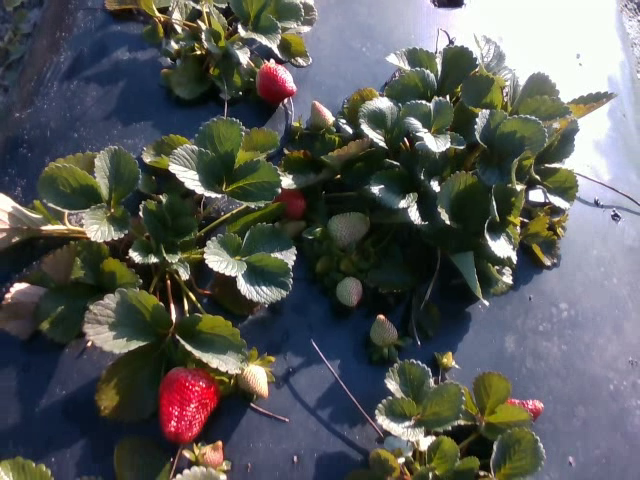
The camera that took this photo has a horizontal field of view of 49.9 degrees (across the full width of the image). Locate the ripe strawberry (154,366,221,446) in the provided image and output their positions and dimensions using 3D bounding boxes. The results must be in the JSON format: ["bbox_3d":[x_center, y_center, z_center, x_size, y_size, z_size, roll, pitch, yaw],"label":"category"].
[{"bbox_3d":[-0.105,0.130,0.527,0.056,0.072,0.055,-32,-53,20],"label":"ripe strawberry"}]
